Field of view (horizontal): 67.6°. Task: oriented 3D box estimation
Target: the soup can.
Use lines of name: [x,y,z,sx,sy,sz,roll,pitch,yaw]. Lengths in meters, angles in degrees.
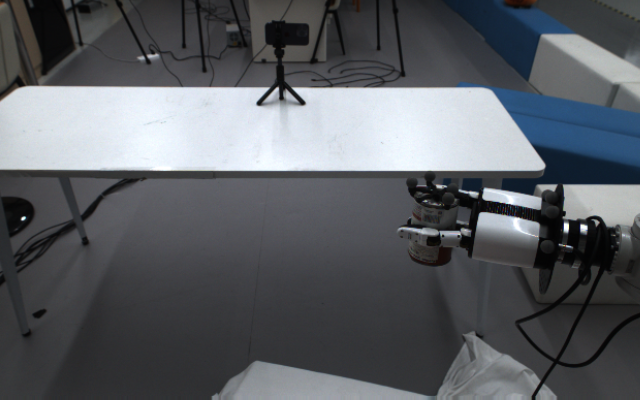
soup can: [0.173,0.040,0.737,0.067,0.101,0.067,1,25,0]
